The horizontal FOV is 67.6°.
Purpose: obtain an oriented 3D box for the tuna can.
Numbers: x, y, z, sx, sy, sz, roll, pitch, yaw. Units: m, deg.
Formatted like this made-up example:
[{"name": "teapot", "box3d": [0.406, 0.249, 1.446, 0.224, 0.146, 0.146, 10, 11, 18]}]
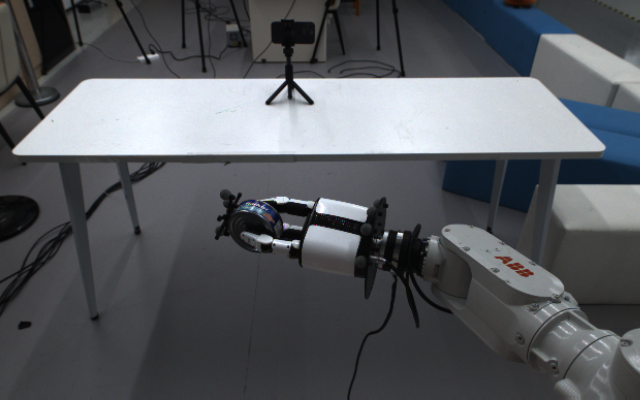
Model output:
[{"name": "tuna can", "box3d": [-0.103, 0.041, 0.780, 0.085, 0.085, 0.034, 11, 36, 13]}]
